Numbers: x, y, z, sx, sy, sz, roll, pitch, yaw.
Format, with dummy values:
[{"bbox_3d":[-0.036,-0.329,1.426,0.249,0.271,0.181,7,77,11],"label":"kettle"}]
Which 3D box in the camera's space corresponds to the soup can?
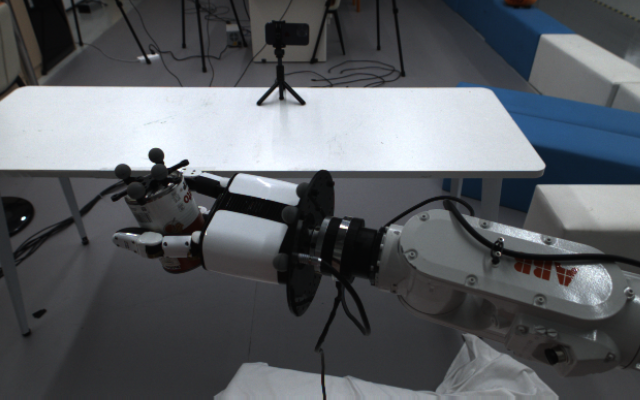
[{"bbox_3d":[-0.167,0.025,0.554,0.067,0.101,0.067,-14,31,8],"label":"soup can"}]
